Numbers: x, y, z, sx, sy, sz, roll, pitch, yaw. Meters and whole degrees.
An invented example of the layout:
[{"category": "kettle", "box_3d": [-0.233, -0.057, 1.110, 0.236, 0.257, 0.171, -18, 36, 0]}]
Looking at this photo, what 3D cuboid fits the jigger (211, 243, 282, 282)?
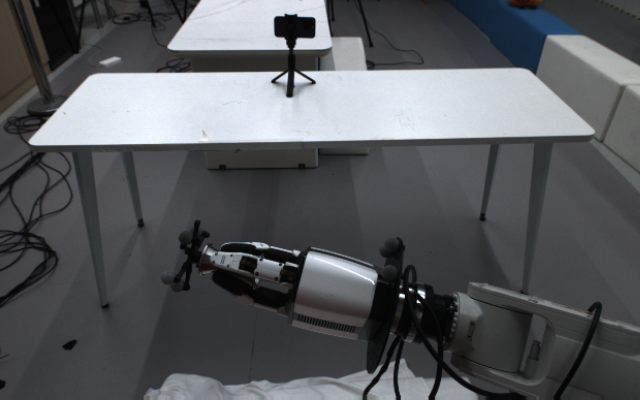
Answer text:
[{"category": "jigger", "box_3d": [-0.098, 0.076, 0.578, 0.071, 0.043, 0.043, 13, 36, 4]}]
